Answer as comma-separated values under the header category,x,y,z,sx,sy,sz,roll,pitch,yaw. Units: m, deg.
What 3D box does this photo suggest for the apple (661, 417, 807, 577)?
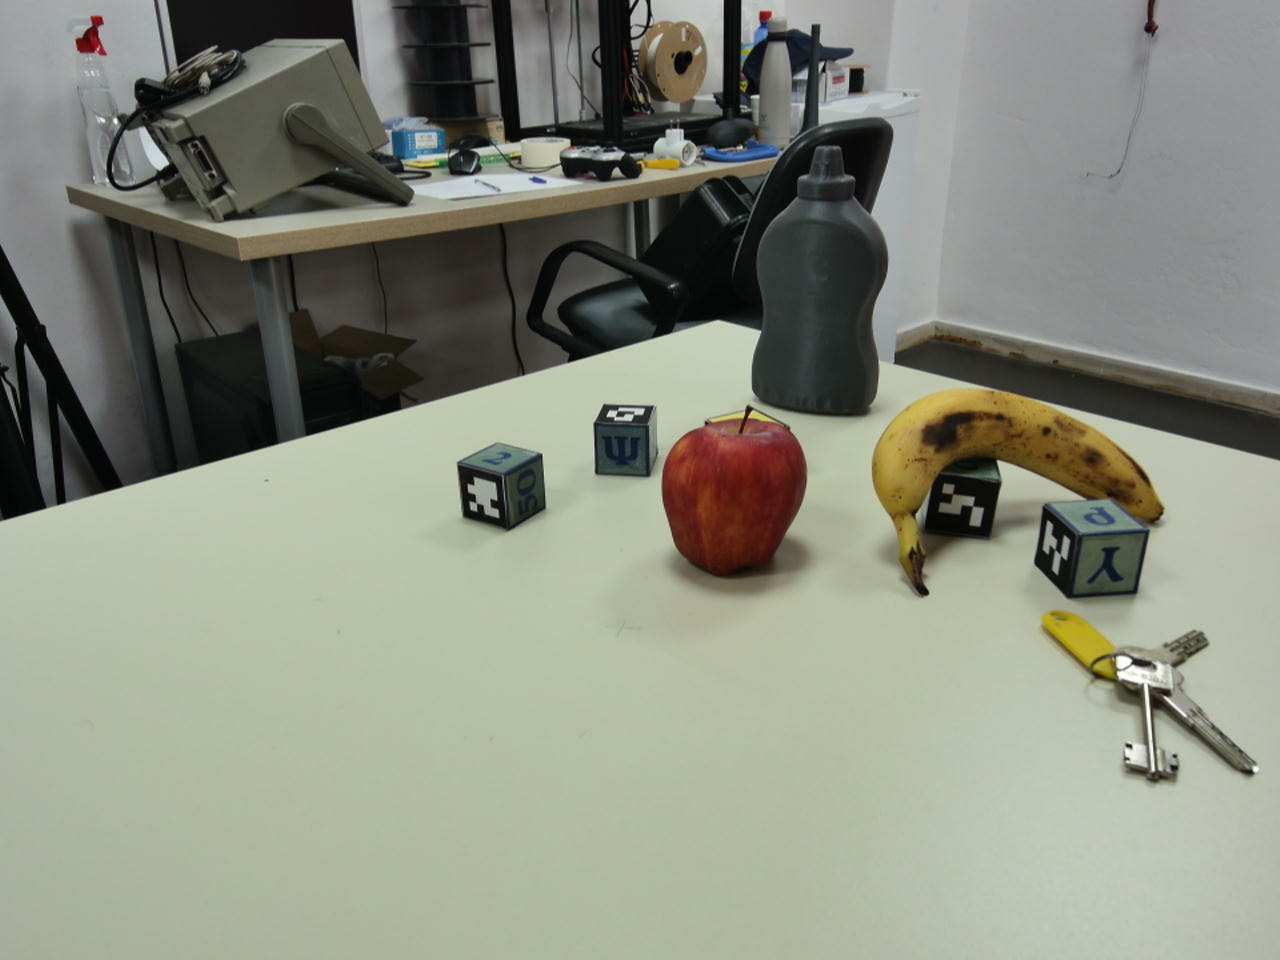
category,x,y,z,sx,sy,sz,roll,pitch,yaw
apple,0.053,0.002,0.551,0.083,0.090,0.083,1,24,0
